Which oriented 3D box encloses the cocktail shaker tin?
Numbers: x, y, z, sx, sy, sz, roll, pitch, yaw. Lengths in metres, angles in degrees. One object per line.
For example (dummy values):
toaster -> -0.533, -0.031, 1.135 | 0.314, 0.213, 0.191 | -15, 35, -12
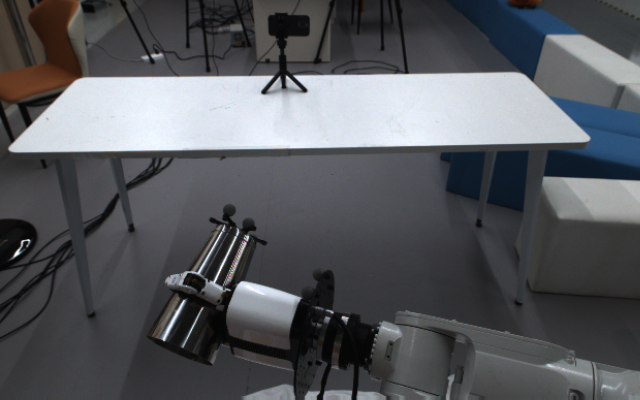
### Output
cocktail shaker tin -> -0.148, 0.123, 0.647 | 0.093, 0.093, 0.170 | 14, 61, 16
